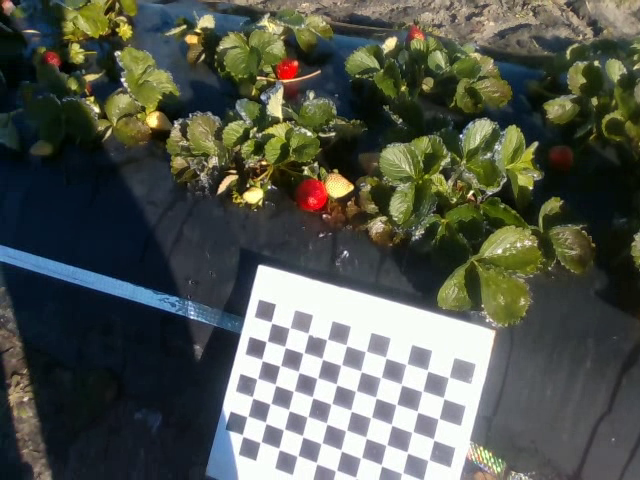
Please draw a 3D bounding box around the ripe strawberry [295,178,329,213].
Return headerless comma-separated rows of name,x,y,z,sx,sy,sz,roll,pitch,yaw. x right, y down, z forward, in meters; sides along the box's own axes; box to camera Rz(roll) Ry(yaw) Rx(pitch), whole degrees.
ripe strawberry,-0.009,-0.047,0.753,0.040,0.042,0.053,-21,16,3
